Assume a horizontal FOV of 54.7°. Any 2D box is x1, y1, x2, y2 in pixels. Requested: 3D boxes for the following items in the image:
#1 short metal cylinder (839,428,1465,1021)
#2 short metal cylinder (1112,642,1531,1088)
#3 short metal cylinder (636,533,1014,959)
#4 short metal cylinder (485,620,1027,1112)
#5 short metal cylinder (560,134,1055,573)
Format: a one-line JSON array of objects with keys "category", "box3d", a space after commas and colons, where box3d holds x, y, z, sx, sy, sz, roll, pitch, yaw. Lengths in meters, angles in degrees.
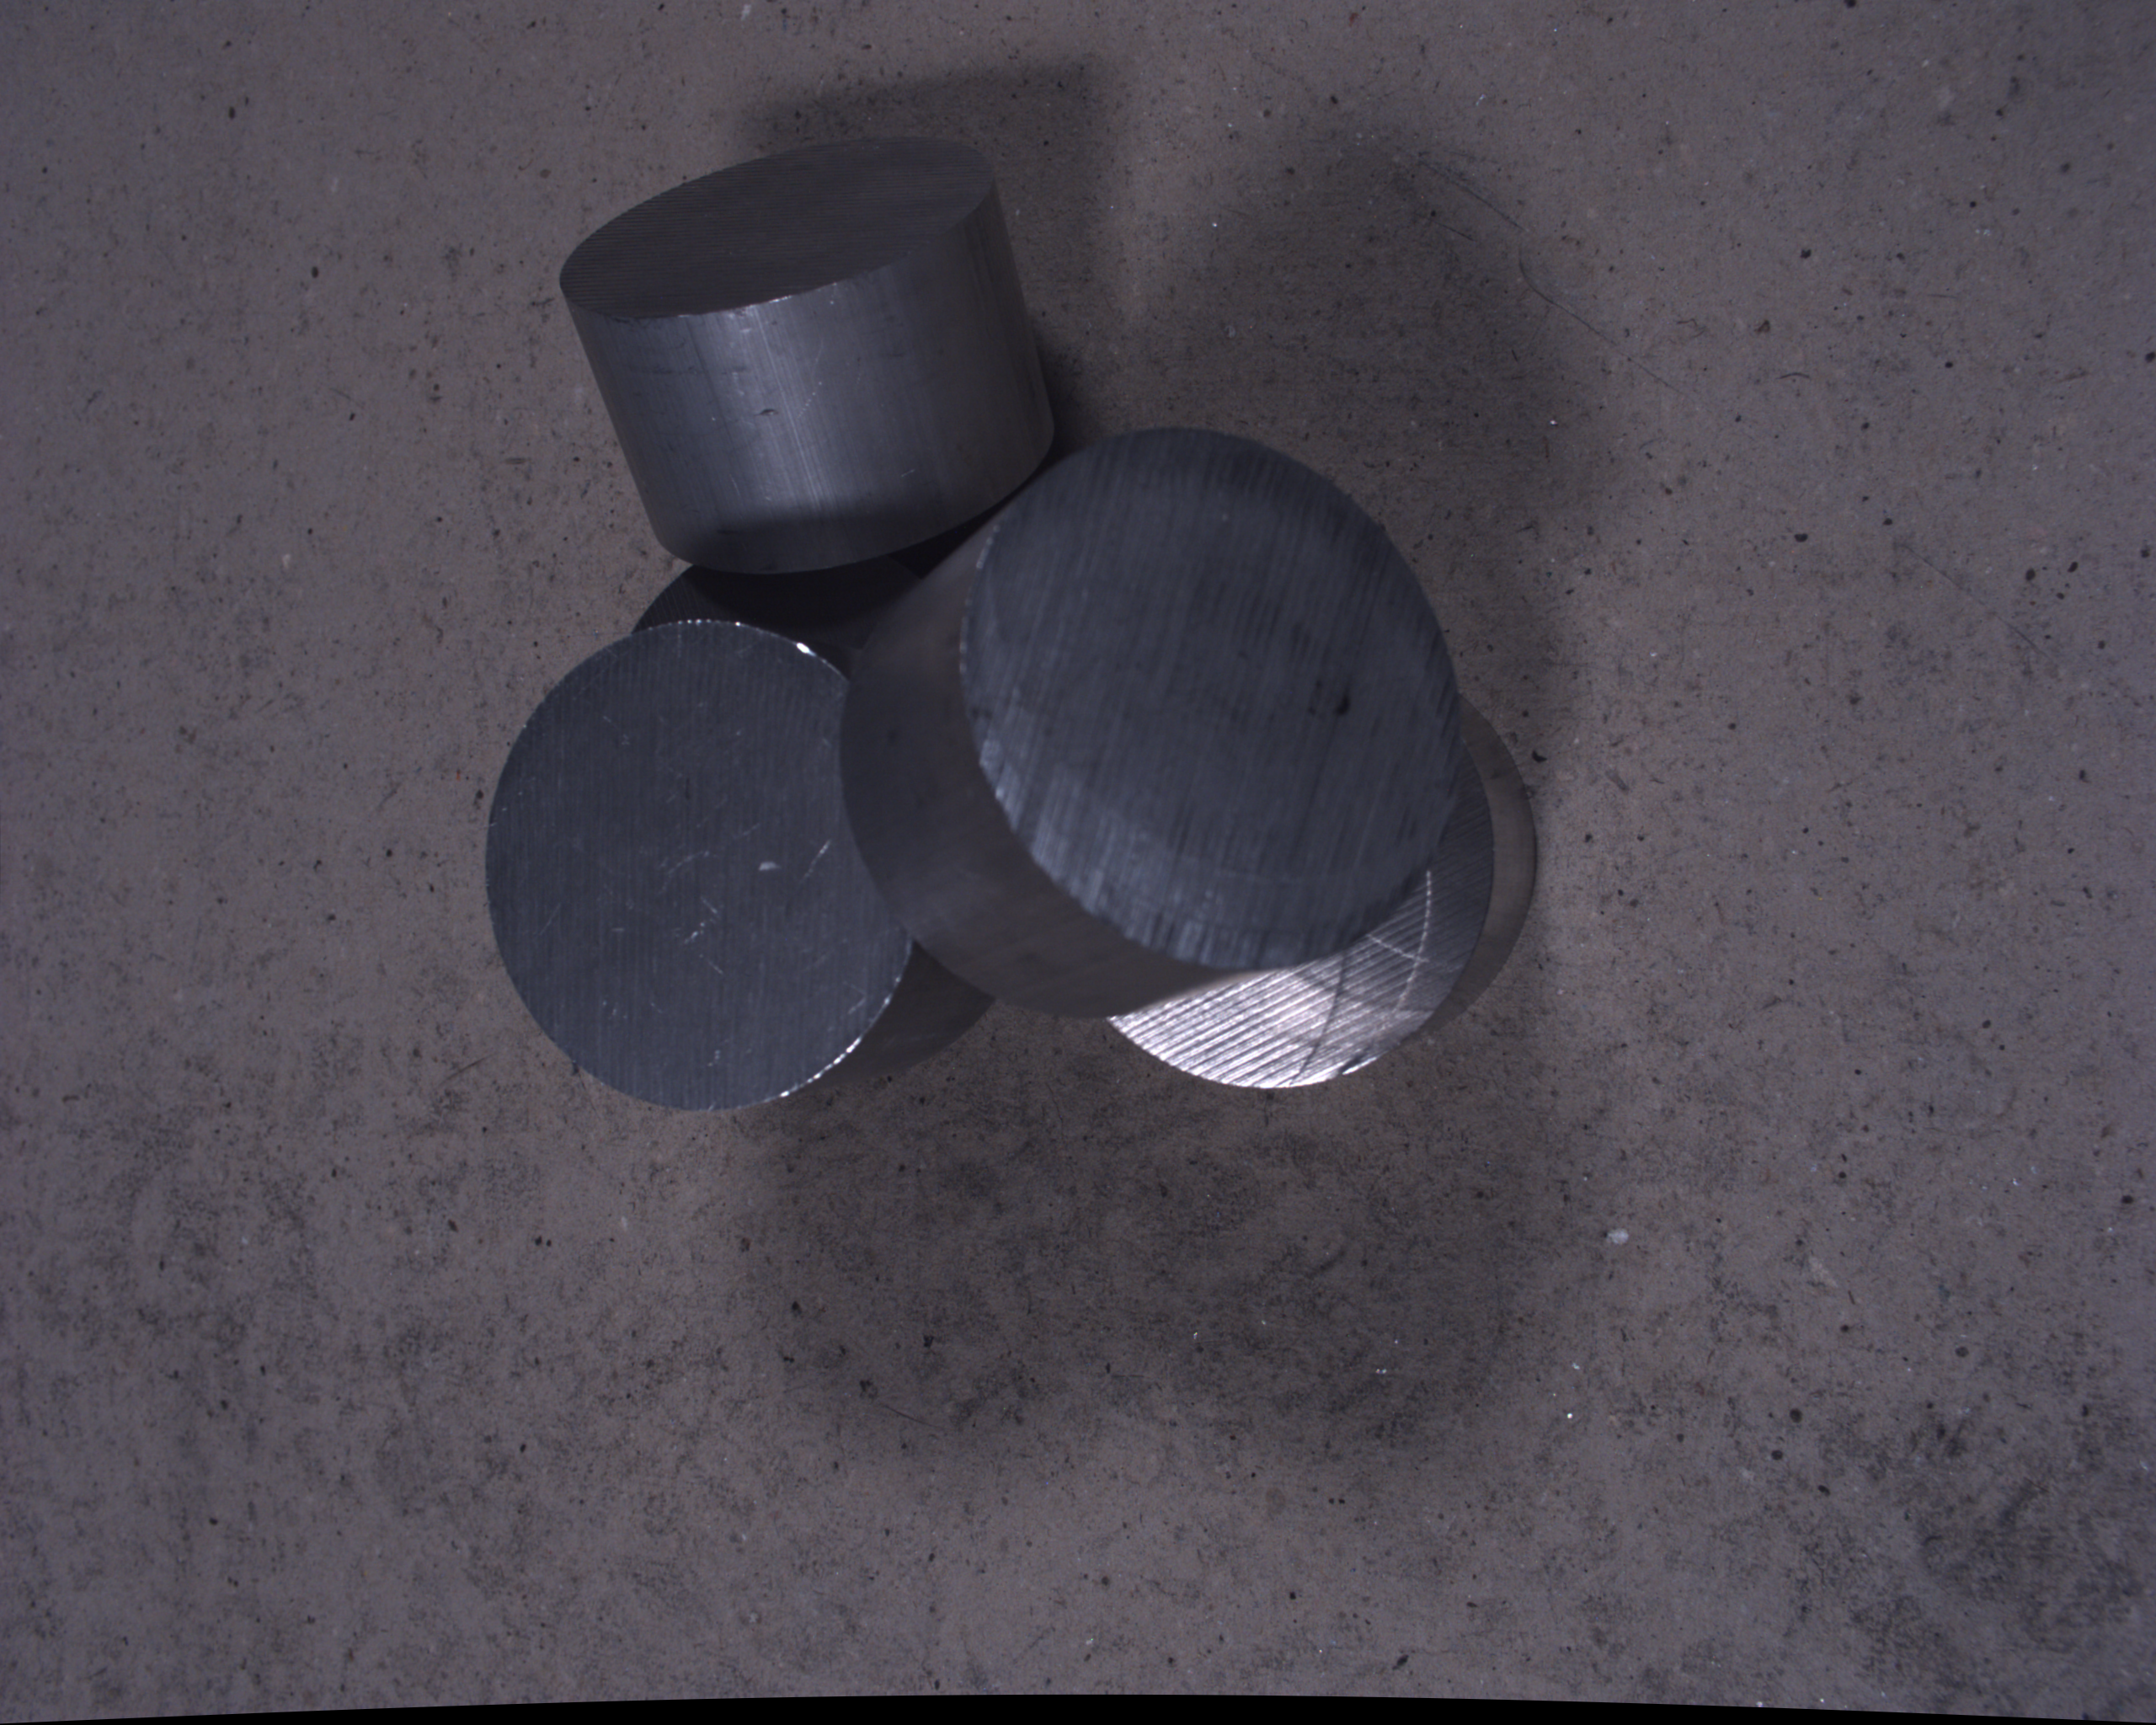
[{"category": "short metal cylinder", "box3d": [0.010, -0.019, 0.316, 0.050, 0.081, 0.080, -26, 79, 61]}, {"category": "short metal cylinder", "box3d": [0.039, -0.001, 0.382, 0.080, 0.050, 0.079, 0, 90, 19]}, {"category": "short metal cylinder", "box3d": [-0.046, -0.022, 0.412, 0.080, 0.050, 0.079, 0, 90, 19]}, {"category": "short metal cylinder", "box3d": [-0.053, 0.000, 0.361, 0.080, 0.050, 0.079, 0, 90, 19]}, {"category": "short metal cylinder", "box3d": [-0.049, -0.097, 0.390, 0.080, 0.080, 0.050, 0, 129, 19]}]
